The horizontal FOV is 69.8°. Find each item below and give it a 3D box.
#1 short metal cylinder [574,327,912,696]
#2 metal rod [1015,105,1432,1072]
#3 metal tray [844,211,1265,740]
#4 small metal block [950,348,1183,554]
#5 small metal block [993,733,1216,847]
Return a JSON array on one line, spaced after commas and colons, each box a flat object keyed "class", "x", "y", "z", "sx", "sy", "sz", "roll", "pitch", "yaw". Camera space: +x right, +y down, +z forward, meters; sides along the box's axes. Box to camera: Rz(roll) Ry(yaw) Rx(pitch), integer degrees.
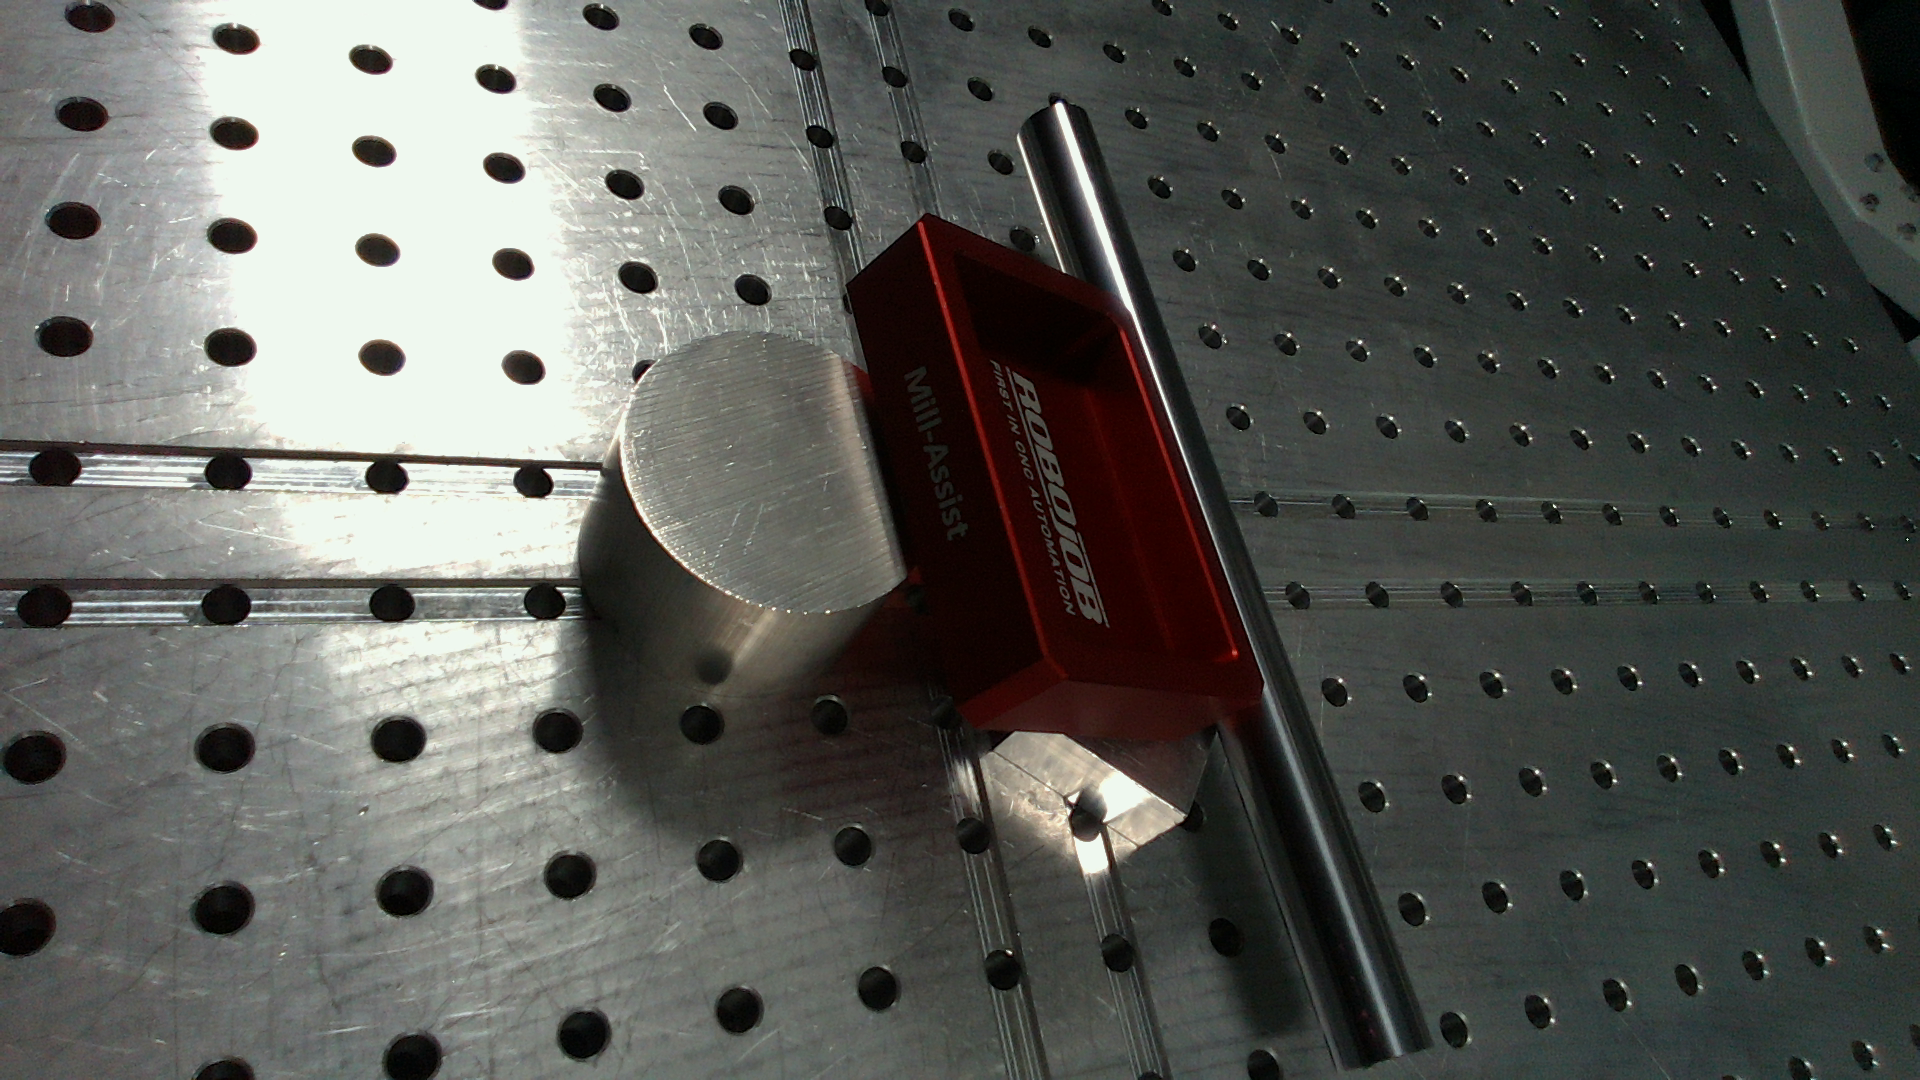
[{"class": "short metal cylinder", "x": -0.053, "y": -0.007, "z": 0.351, "sx": 0.080, "sy": 0.050, "sz": 0.080, "roll": 14, "pitch": 56, "yaw": -21}, {"class": "metal rod", "x": 0.067, "y": -0.005, "z": 0.399, "sx": 0.025, "sy": 0.025, "sz": 0.300, "roll": -1, "pitch": 62, "yaw": -29}, {"class": "metal tray", "x": 0.025, "y": -0.015, "z": 0.361, "sx": 0.090, "sy": 0.030, "sz": 0.130, "roll": 11, "pitch": 55, "yaw": -46}, {"class": "small metal block", "x": 0.033, "y": -0.029, "z": 0.428, "sx": 0.050, "sy": 0.025, "sz": 0.050, "roll": -16, "pitch": 70, "yaw": -34}, {"class": "small metal block", "x": 0.044, "y": 0.049, "z": 0.385, "sx": 0.050, "sy": 0.025, "sz": 0.050, "roll": 34, "pitch": 51, "yaw": -6}]
